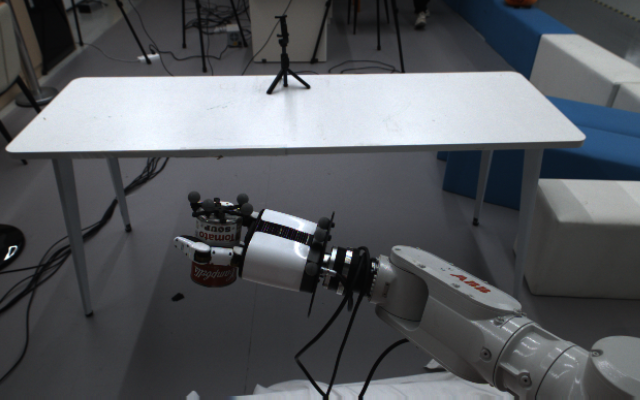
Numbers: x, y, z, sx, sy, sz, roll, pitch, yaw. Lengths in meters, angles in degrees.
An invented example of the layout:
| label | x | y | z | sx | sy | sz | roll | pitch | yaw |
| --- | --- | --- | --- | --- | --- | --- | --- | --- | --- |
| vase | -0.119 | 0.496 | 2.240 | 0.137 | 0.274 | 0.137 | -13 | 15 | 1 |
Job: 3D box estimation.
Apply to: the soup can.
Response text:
| label | x | y | z | sx | sy | sz | roll | pitch | yaw |
| --- | --- | --- | --- | --- | --- | --- | --- | --- | --- |
| soup can | -0.149 | 0.066 | 0.698 | 0.067 | 0.101 | 0.067 | 8 | 19 | -3 |
